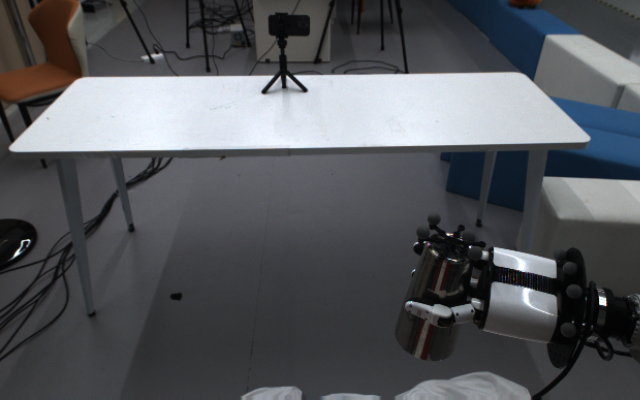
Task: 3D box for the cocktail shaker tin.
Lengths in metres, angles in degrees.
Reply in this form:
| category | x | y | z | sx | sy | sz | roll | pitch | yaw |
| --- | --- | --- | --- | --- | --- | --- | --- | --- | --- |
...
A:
| category | x | y | z | sx | sy | sz | roll | pitch | yaw |
| --- | --- | --- | --- | --- | --- | --- | --- | --- | --- |
| cocktail shaker tin | 0.166 | 0.131 | 0.682 | 0.093 | 0.170 | 0.093 | 4 | 32 | -2 |
